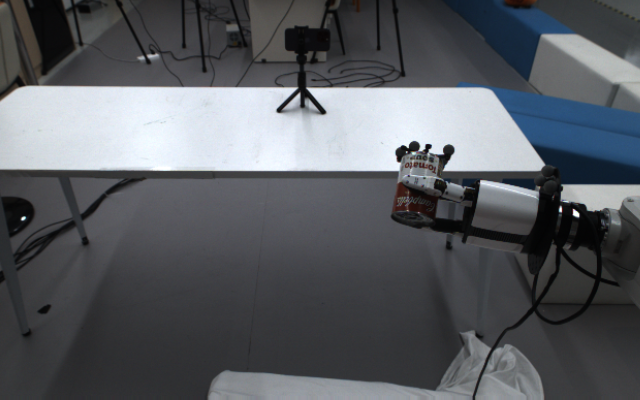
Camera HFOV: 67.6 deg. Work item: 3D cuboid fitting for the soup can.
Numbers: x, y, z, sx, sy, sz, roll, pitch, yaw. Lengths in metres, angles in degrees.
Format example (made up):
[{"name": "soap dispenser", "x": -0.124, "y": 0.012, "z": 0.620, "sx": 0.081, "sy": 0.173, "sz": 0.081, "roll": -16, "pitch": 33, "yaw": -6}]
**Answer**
[{"name": "soup can", "x": 0.152, "y": -0.018, "z": 0.750, "sx": 0.067, "sy": 0.067, "sz": 0.101, "roll": 9, "pitch": 72, "yaw": 10}]
